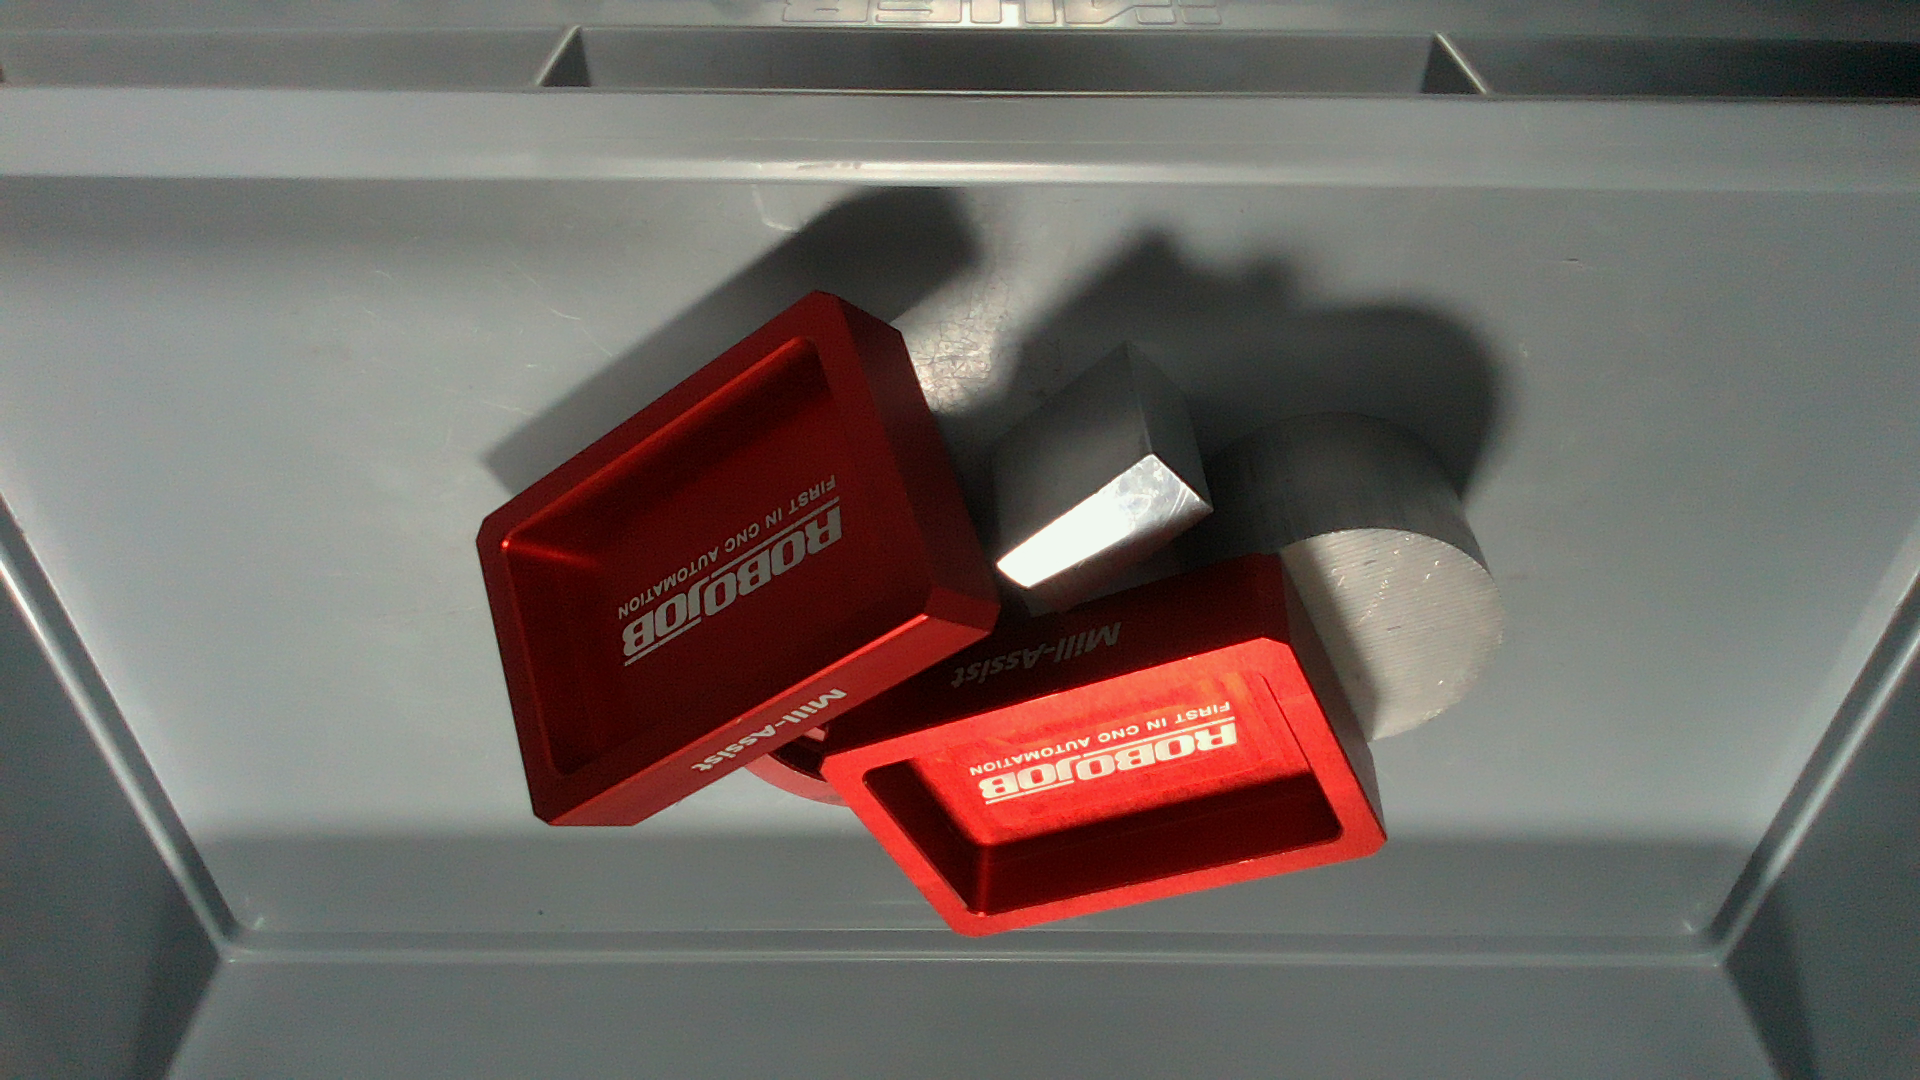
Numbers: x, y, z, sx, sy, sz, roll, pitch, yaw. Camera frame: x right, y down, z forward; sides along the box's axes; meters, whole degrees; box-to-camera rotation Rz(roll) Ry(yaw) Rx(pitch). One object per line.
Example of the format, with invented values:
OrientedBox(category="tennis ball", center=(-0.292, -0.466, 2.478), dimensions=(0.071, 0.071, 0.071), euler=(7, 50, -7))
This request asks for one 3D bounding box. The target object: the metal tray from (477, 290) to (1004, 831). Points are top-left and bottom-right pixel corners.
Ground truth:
OrientedBox(category="metal tray", center=(-0.061, 0.009, 0.351), dimensions=(0.130, 0.090, 0.030), euler=(-30, 156, 22))

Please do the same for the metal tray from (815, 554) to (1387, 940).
OrientedBox(category="metal tray", center=(0.039, 0.061, 0.375), dimensions=(0.130, 0.030, 0.090), euler=(-18, 127, 20))

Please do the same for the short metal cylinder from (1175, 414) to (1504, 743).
OrientedBox(category="short metal cylinder", center=(0.103, 0.012, 0.383), dimensions=(0.080, 0.050, 0.080), euler=(0, 130, 0))

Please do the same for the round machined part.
OrientedBox(category="round machined part", center=(-0.026, 0.032, 0.406), dimensions=(0.098, 0.042, 0.098), euler=(0, 130, 0))

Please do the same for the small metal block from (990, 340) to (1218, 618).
OrientedBox(category="small metal block", center=(0.035, -0.016, 0.358), dimensions=(0.050, 0.050, 0.025), euler=(-37, 121, 25))
